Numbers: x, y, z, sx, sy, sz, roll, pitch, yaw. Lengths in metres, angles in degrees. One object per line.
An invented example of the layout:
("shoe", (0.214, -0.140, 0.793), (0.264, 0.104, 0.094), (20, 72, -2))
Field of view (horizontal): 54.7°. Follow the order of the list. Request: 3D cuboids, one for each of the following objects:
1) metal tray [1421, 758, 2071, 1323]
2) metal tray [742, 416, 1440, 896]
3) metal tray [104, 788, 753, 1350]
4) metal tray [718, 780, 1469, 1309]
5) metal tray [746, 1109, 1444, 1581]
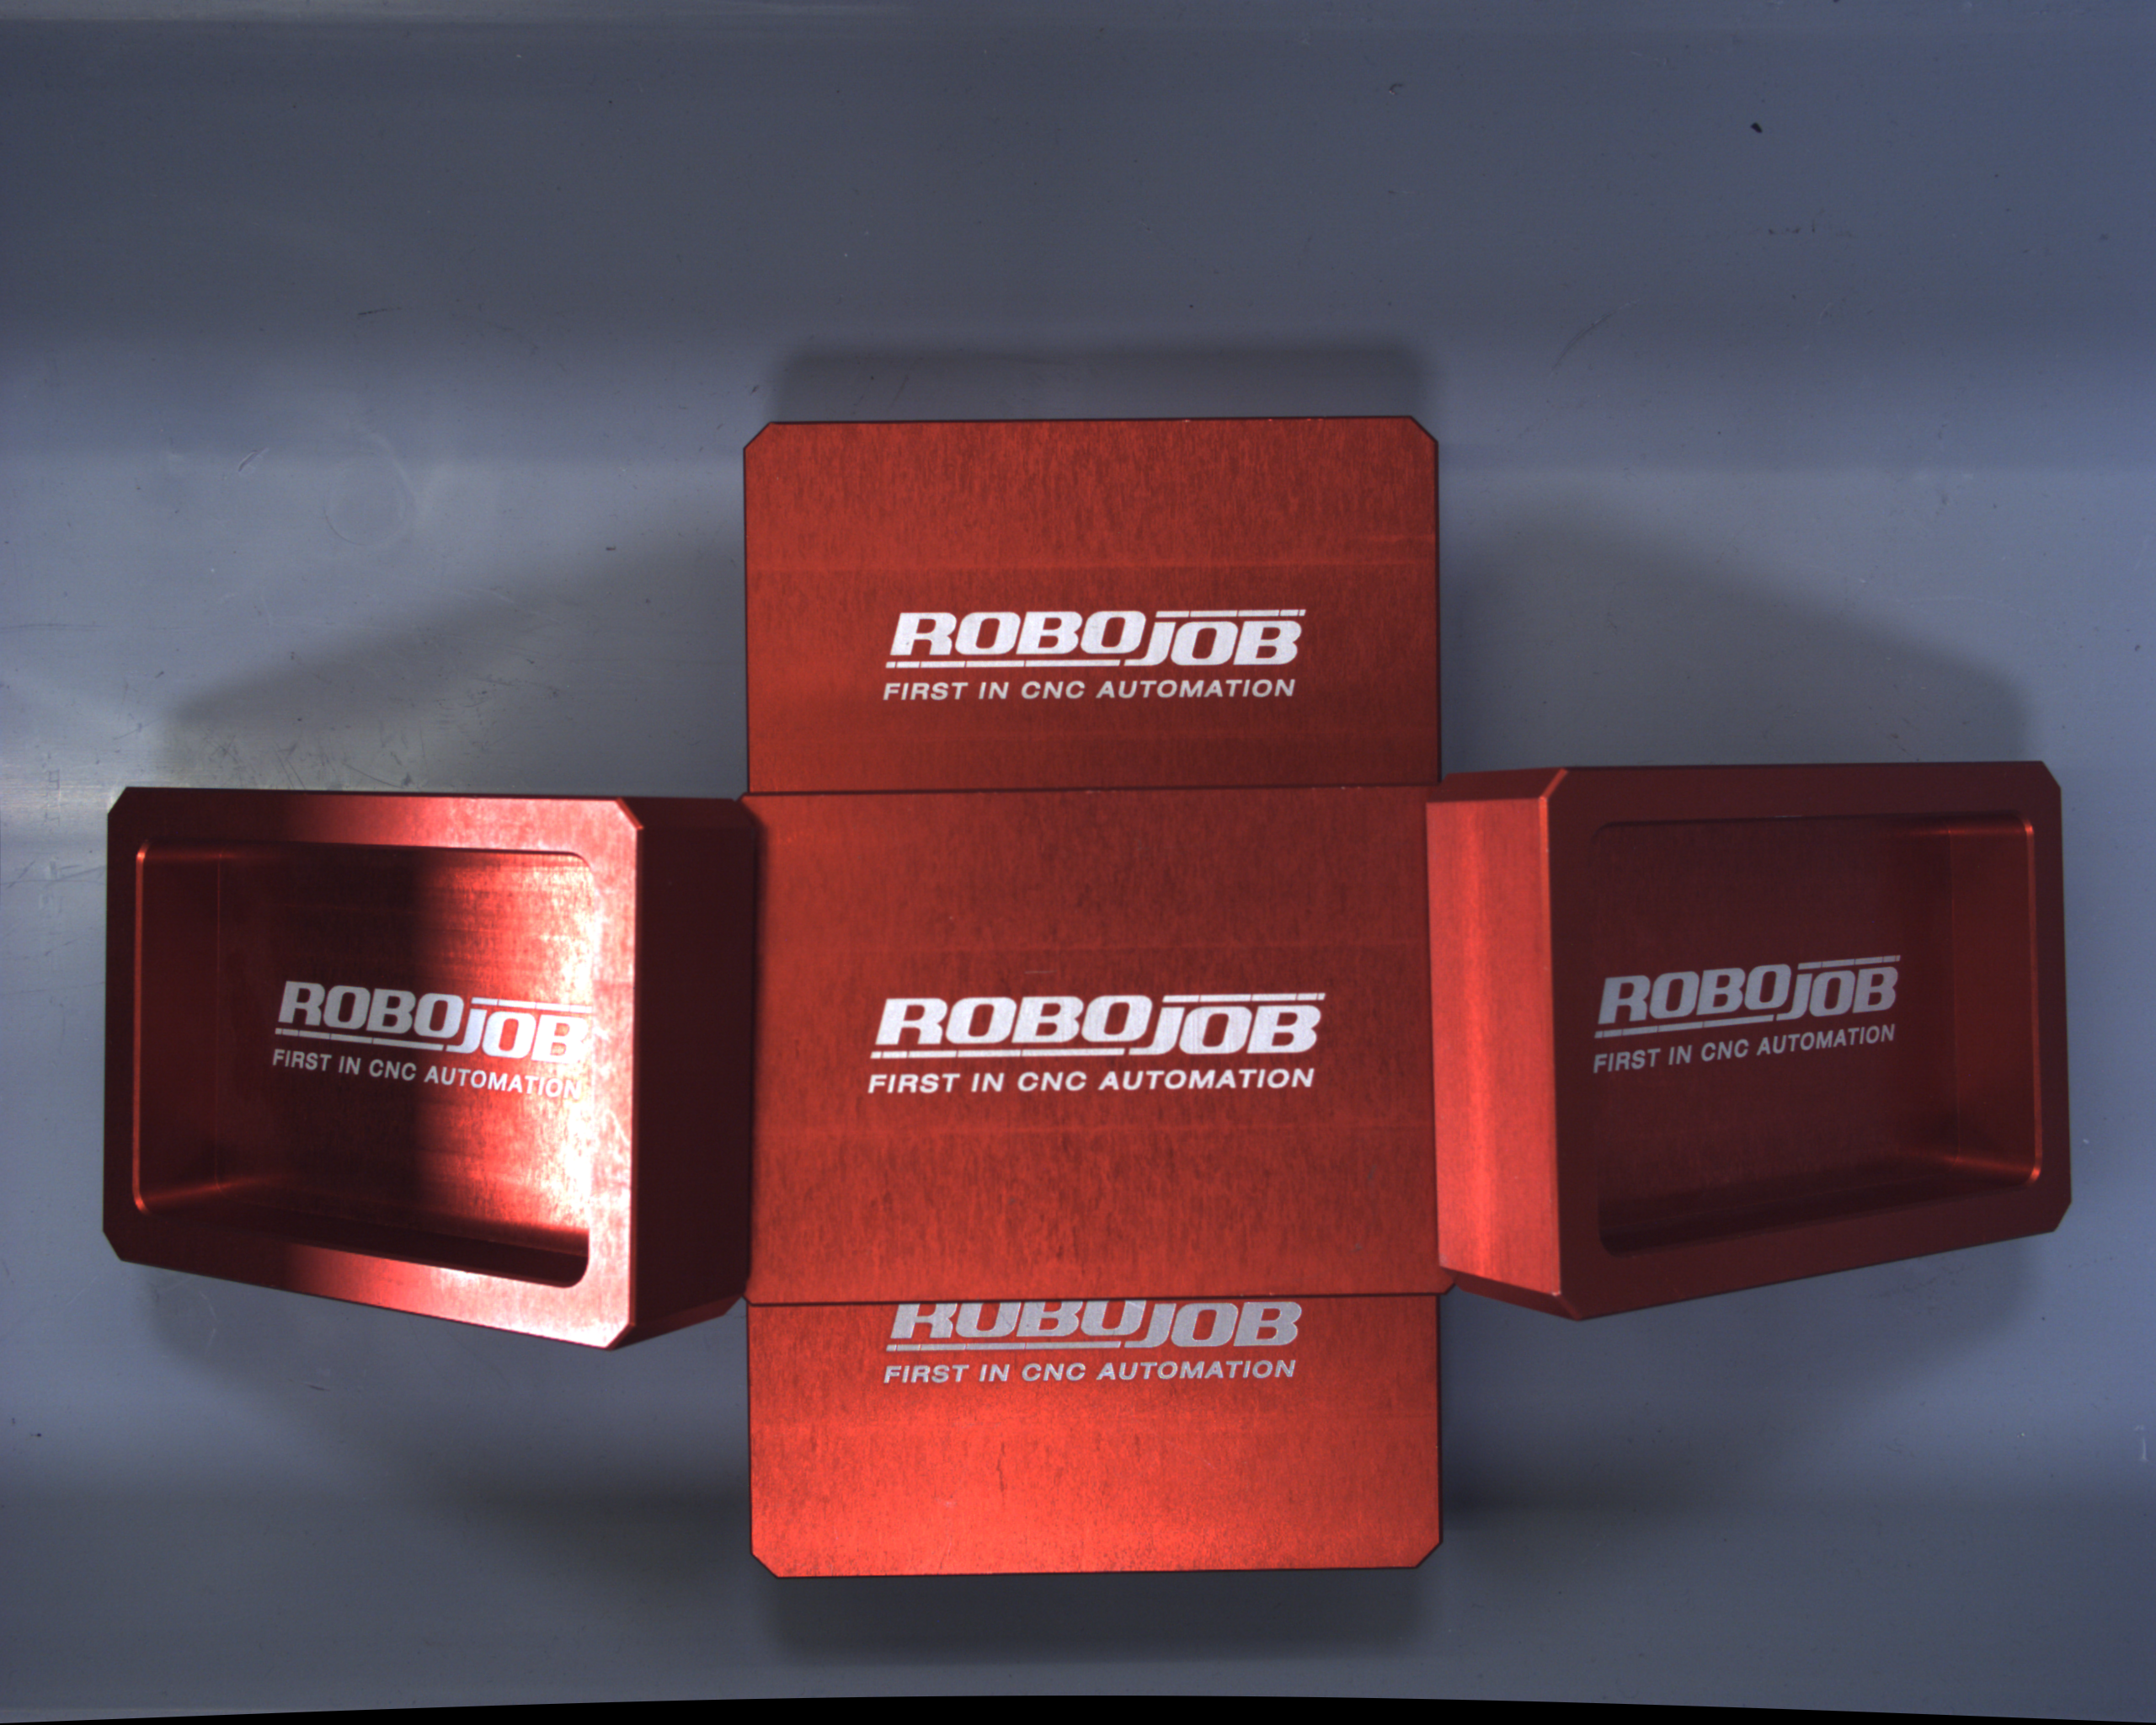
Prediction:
("metal tray", (0.124, 0.027, 0.377), (0.131, 0.030, 0.089), (-2, 91, -30))
("metal tray", (0.003, -0.039, 0.406), (0.131, 0.030, 0.089), (0, 90, -1))
("metal tray", (-0.120, 0.032, 0.376), (0.130, 0.030, 0.089), (2, 91, 29))
("metal tray", (0.003, 0.031, 0.377), (0.131, 0.030, 0.089), (-1, 90, -1))
("metal tray", (0.003, 0.090, 0.406), (0.131, 0.030, 0.089), (0, 90, -1))
